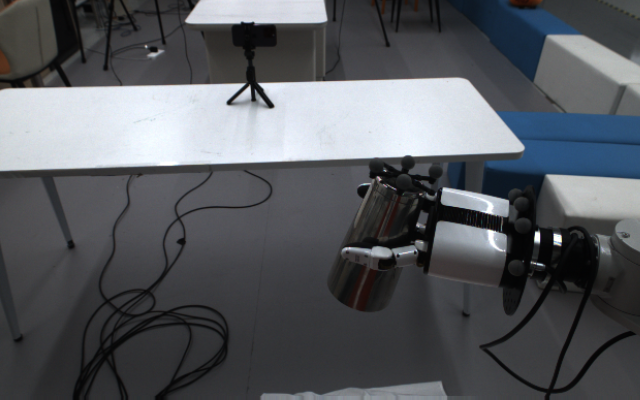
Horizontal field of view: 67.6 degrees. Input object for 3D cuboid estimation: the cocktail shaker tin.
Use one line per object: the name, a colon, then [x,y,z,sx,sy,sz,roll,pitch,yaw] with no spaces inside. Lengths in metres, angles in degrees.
cocktail shaker tin: [0.078,0.047,0.621,0.093,0.170,0.093,12,29,-7]
